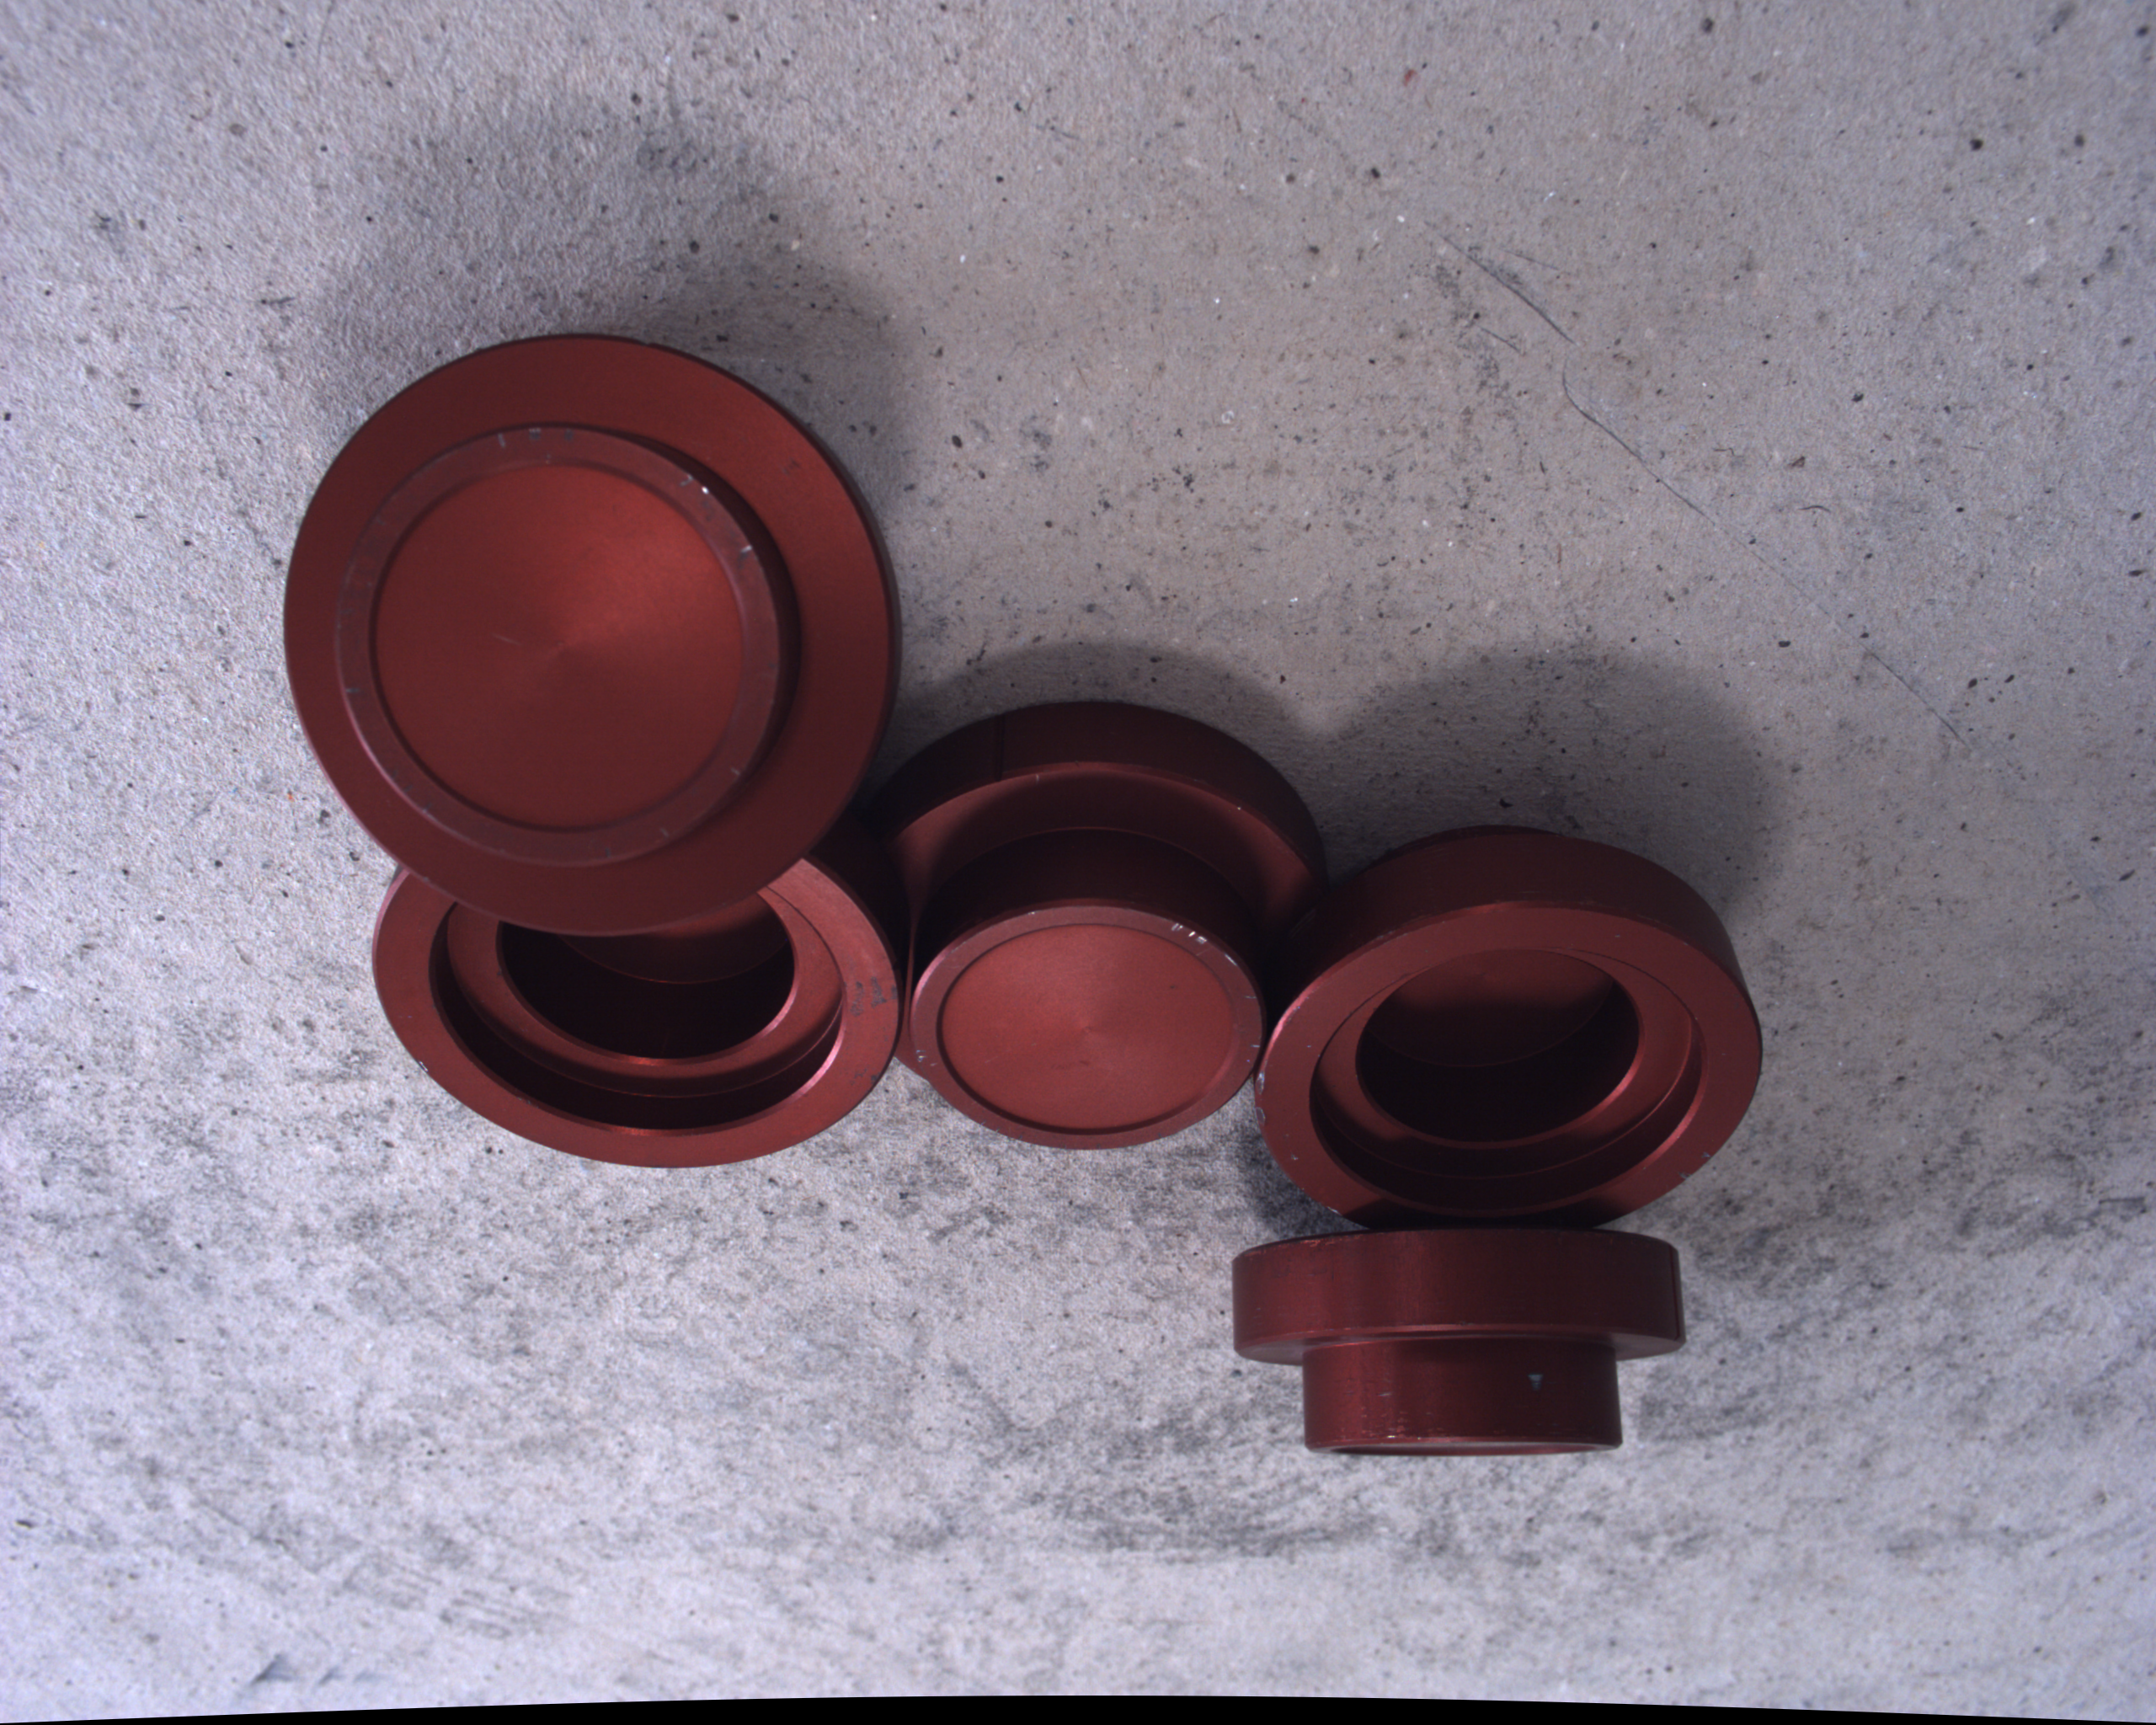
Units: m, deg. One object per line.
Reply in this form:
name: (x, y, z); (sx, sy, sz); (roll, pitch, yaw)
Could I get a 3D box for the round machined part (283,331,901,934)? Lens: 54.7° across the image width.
round machined part: (-0.079, -0.036, 0.337); (0.099, 0.042, 0.097); (0, 99, -1)

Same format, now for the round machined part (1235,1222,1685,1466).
round machined part: (0.084, 0.109, 0.461); (0.099, 0.042, 0.098); (0, 160, 0)

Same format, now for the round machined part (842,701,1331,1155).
round machined part: (0.002, 0.020, 0.412); (0.099, 0.042, 0.097); (1, 128, 1)

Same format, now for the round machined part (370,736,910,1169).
round machined part: (-0.082, 0.012, 0.406); (0.099, 0.042, 0.097); (0, 131, 1)

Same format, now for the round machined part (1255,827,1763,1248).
round machined part: (0.084, 0.031, 0.424); (0.099, 0.042, 0.097); (0, 131, 1)
